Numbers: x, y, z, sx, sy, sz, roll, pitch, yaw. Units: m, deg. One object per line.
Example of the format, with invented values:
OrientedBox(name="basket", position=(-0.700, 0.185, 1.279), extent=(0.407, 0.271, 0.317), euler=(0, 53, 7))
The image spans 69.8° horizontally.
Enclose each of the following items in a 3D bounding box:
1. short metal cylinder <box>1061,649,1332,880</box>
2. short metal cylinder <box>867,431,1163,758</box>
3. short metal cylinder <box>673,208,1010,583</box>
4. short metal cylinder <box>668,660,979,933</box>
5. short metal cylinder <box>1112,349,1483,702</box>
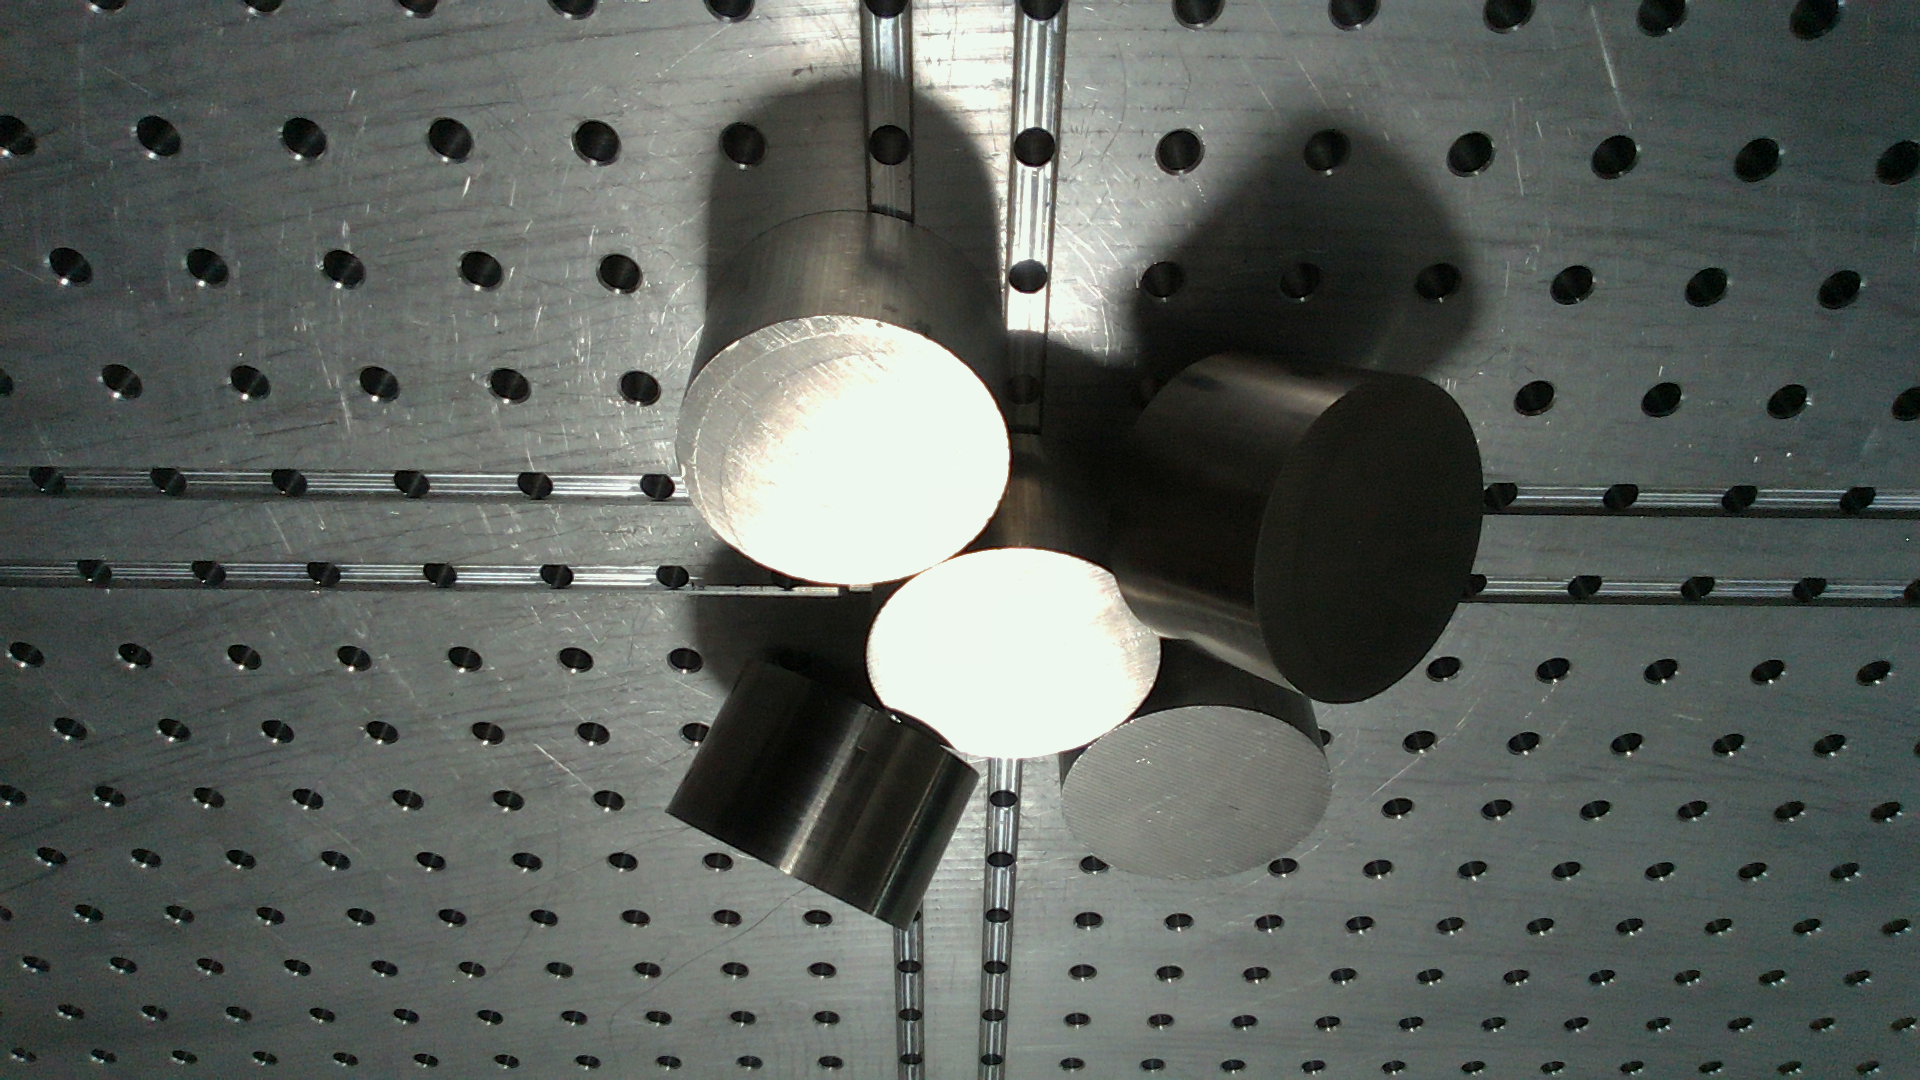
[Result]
OrientedBox(name="short metal cylinder", position=(0.070, 0.061, 0.429), extent=(0.080, 0.050, 0.080), euler=(0, 130, 0))
OrientedBox(name="short metal cylinder", position=(0.015, 0.016, 0.391), extent=(0.080, 0.050, 0.080), euler=(0, 130, 0))
OrientedBox(name="short metal cylinder", position=(-0.028, -0.036, 0.347), extent=(0.080, 0.050, 0.080), euler=(0, 130, 0))
OrientedBox(name="short metal cylinder", position=(-0.041, 0.077, 0.415), extent=(0.080, 0.050, 0.080), euler=(25, 166, 7))
OrientedBox(name="short metal cylinder", position=(0.085, -0.005, 0.347), extent=(0.080, 0.050, 0.080), euler=(-11, 109, -33))
